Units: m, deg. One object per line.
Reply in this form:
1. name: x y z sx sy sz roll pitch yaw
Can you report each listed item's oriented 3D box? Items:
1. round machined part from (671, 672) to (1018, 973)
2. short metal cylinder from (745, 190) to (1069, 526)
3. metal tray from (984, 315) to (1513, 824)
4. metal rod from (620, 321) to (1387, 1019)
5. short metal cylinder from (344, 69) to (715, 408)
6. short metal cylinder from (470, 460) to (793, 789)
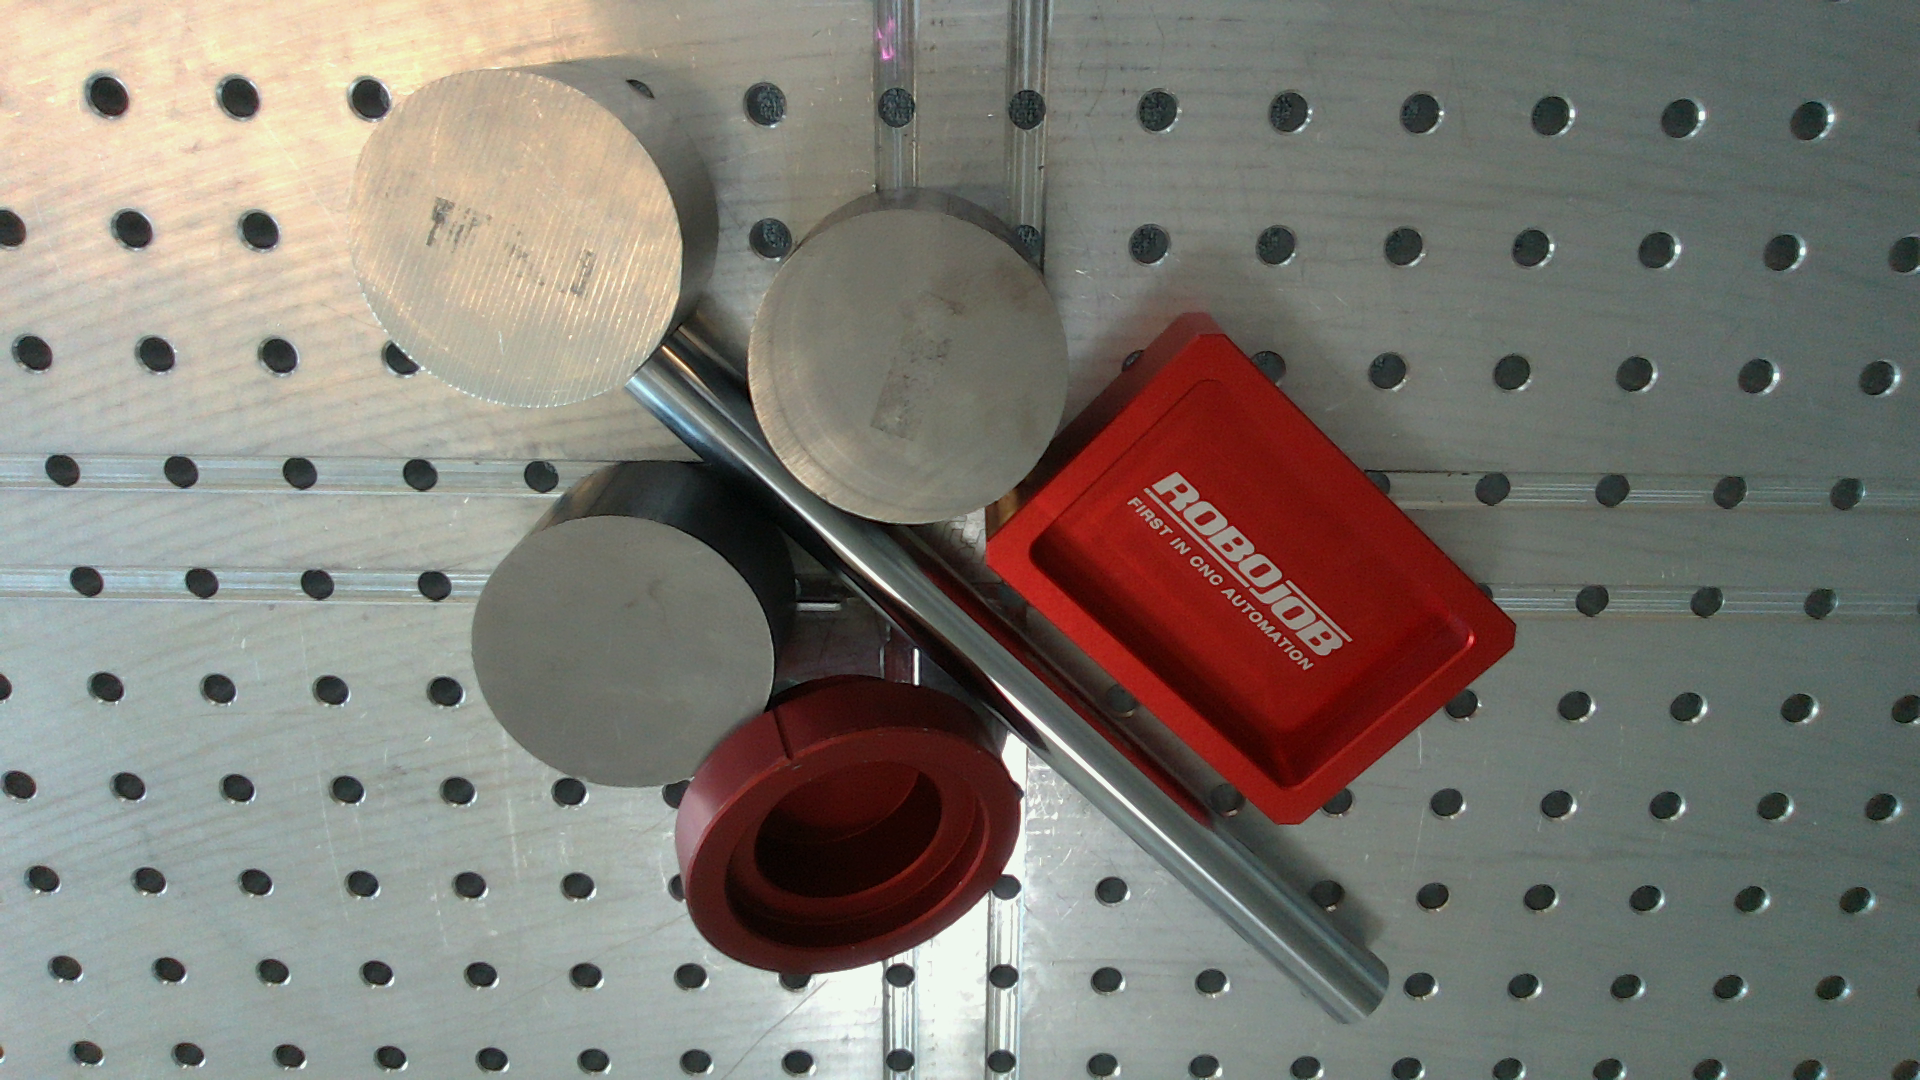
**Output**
1. round machined part: -0.036 0.078 0.405 0.098 0.042 0.098 -11 127 -15
2. short metal cylinder: -0.013 -0.050 0.364 0.080 0.050 0.080 0 110 0
3. metal tray: 0.081 0.011 0.397 0.130 0.030 0.090 42 105 -14
4. metal rod: 0.022 0.048 0.414 0.300 0.025 0.025 43 105 -14
5. short metal cylinder: -0.107 -0.079 0.353 0.080 0.050 0.080 0 110 0
6. short metal cylinder: -0.090 0.023 0.391 0.080 0.050 0.080 0 110 0
